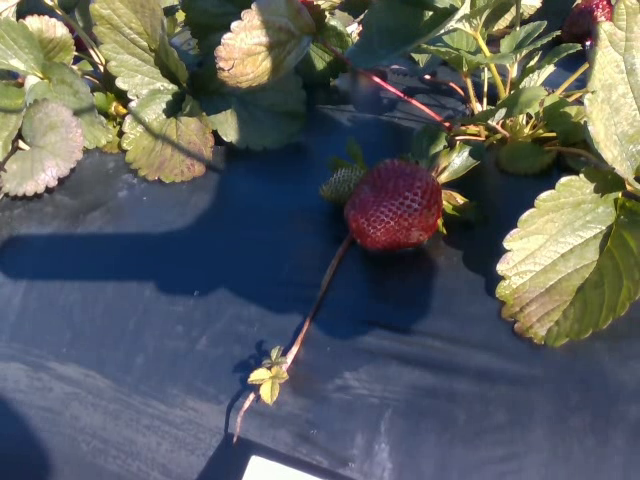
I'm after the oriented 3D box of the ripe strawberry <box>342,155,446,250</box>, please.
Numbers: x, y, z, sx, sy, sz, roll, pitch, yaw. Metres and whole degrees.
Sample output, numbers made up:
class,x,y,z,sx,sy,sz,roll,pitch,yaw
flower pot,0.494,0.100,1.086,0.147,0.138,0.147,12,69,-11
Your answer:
class,x,y,z,sx,sy,sz,roll,pitch,yaw
ripe strawberry,0.028,-0.012,0.242,0.041,0.043,0.053,24,29,26
